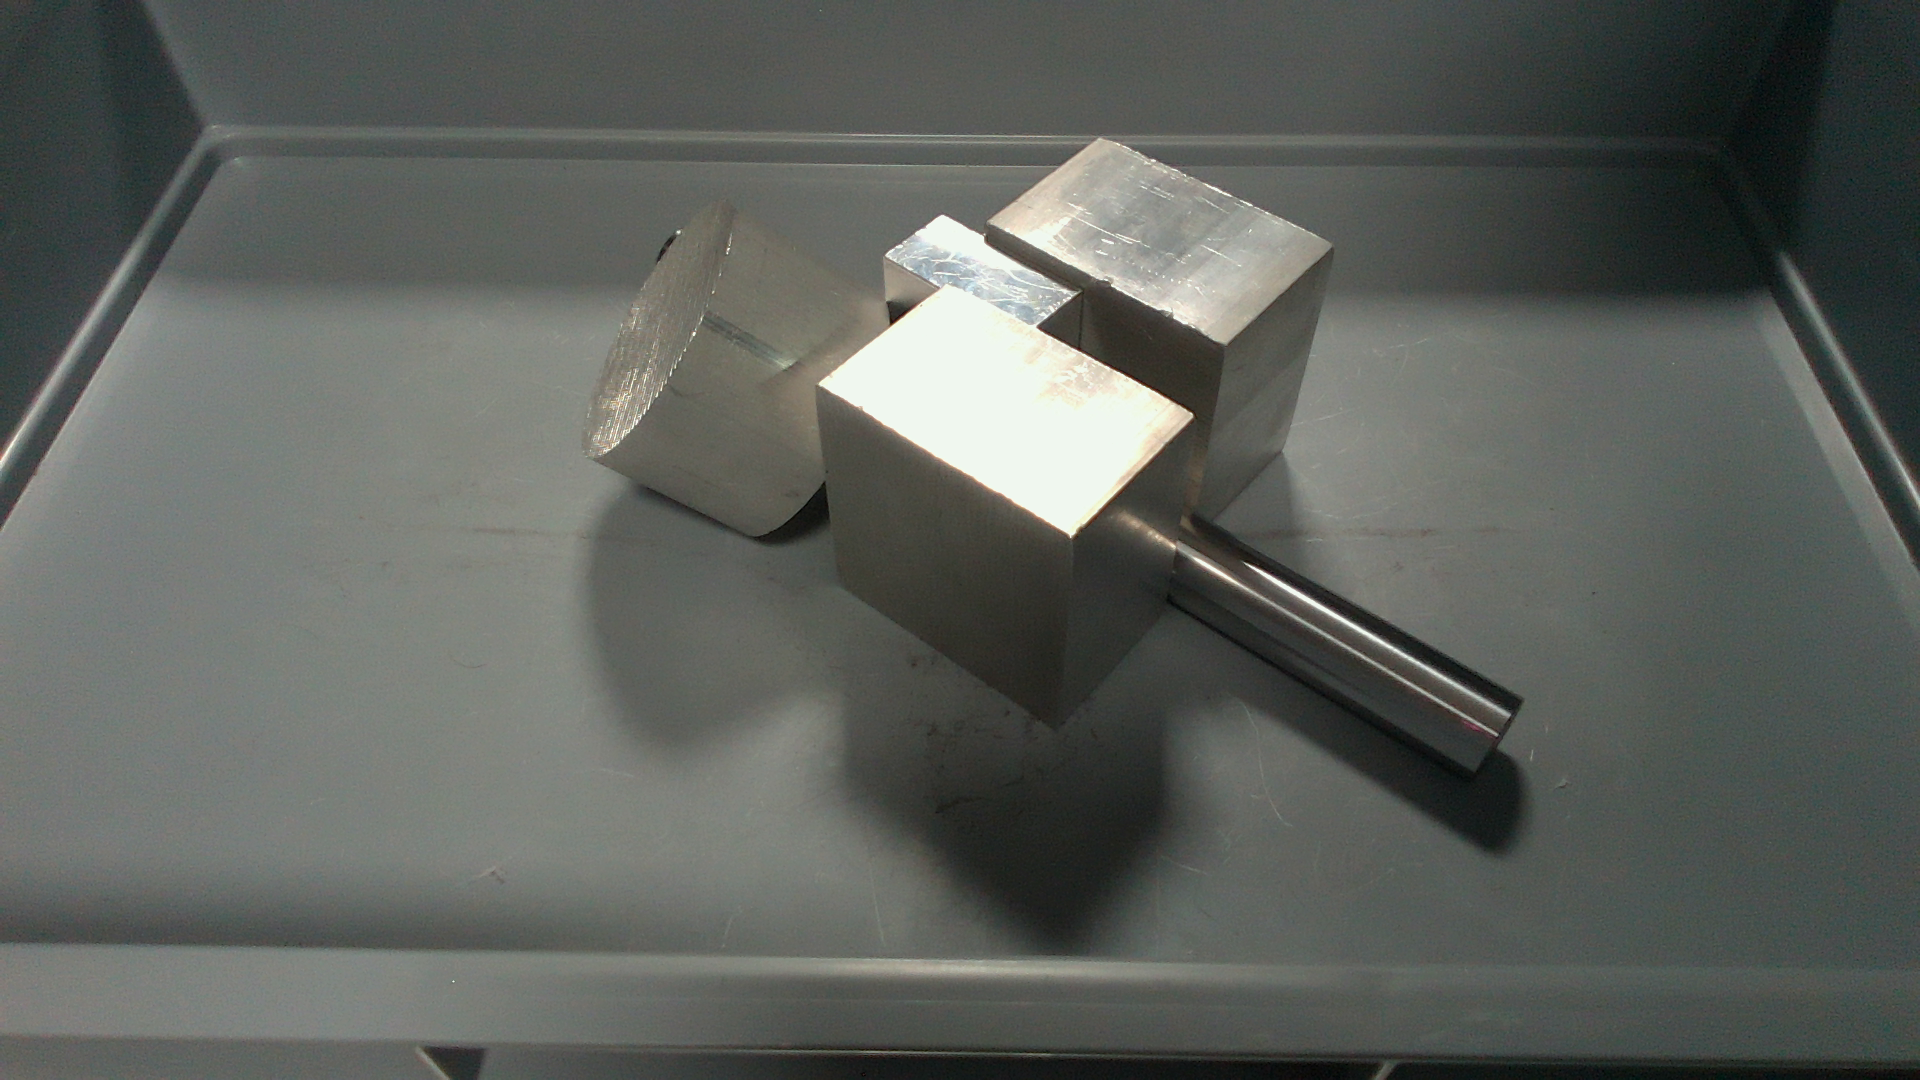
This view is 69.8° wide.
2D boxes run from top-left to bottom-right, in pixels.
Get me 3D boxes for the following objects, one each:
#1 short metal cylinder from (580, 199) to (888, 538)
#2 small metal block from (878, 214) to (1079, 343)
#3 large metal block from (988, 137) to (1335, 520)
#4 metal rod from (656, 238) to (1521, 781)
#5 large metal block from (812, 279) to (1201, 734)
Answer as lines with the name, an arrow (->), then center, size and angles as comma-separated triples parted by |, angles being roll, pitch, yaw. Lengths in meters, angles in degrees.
short metal cylinder -> -0.064, -0.047, 0.386 | 0.050, 0.080, 0.080 | 28, 43, -28
small metal block -> 0.005, -0.056, 0.391 | 0.050, 0.050, 0.025 | 33, 58, 25
large metal block -> 0.055, -0.058, 0.405 | 0.080, 0.080, 0.050 | 33, 57, 25
metal rod -> 0.020, -0.022, 0.410 | 0.299, 0.025, 0.025 | 32, 57, 24
large metal block -> 0.011, -0.009, 0.362 | 0.080, 0.080, 0.050 | 32, 57, 24
